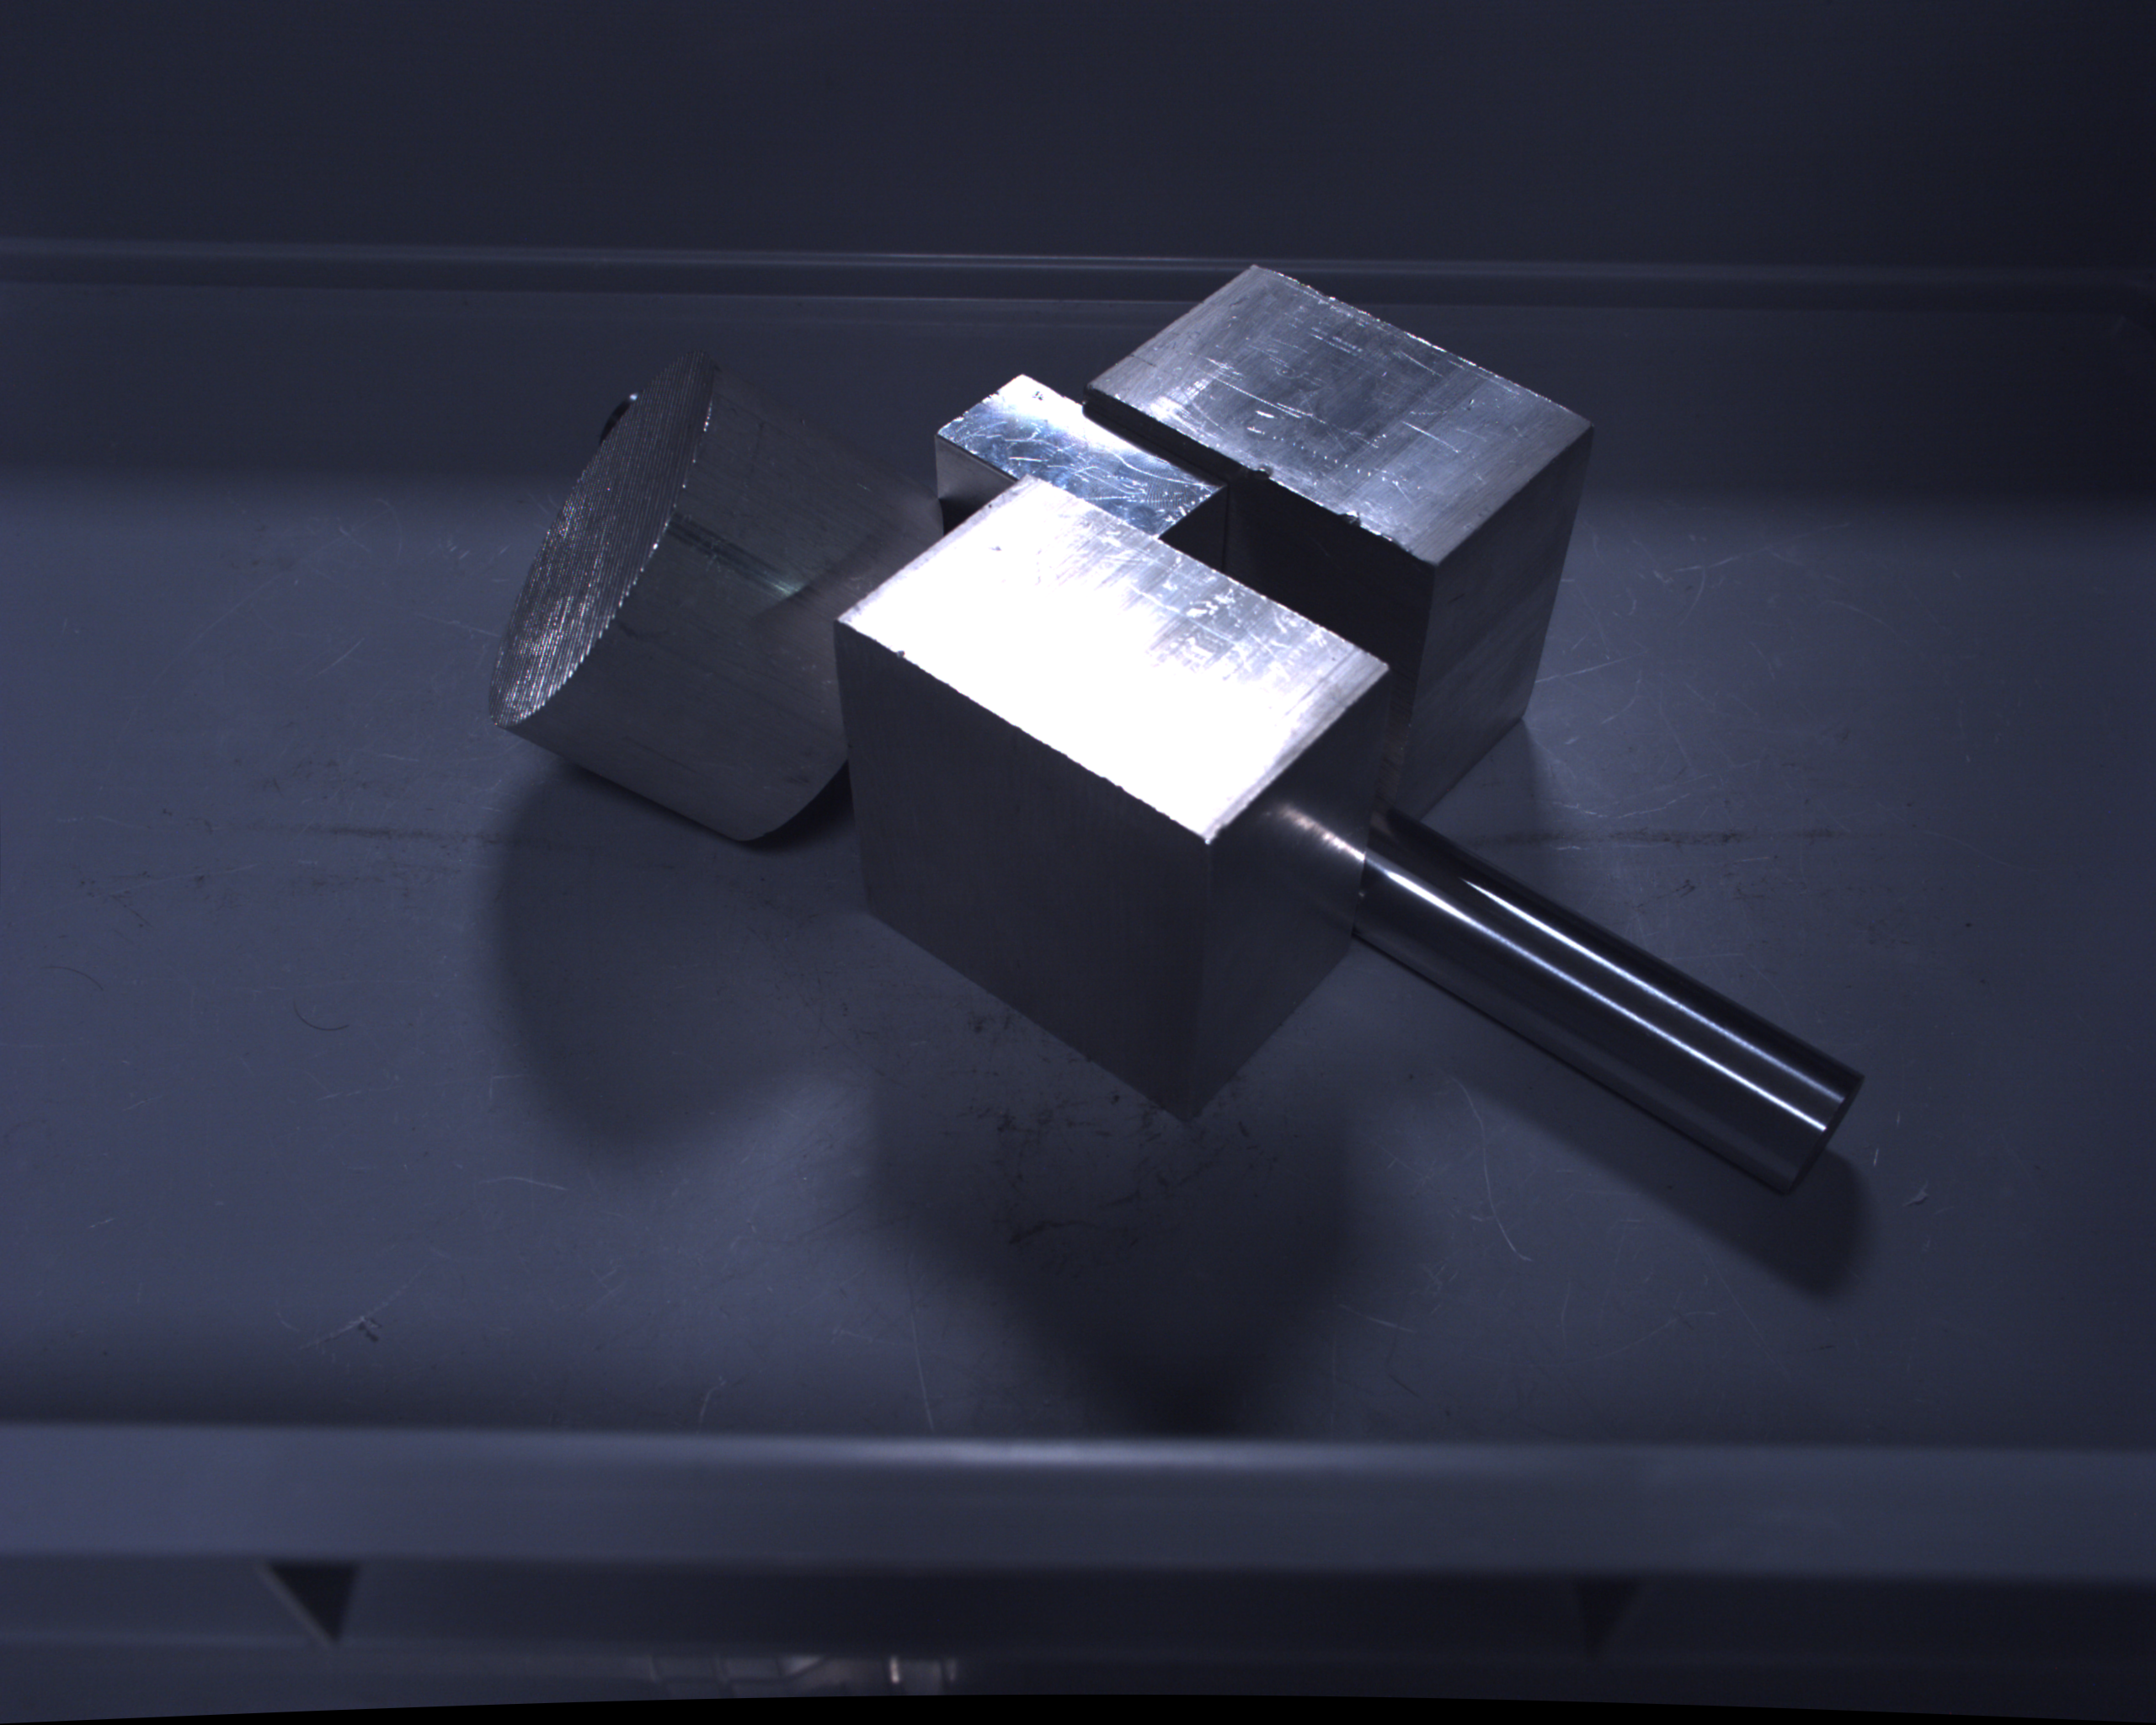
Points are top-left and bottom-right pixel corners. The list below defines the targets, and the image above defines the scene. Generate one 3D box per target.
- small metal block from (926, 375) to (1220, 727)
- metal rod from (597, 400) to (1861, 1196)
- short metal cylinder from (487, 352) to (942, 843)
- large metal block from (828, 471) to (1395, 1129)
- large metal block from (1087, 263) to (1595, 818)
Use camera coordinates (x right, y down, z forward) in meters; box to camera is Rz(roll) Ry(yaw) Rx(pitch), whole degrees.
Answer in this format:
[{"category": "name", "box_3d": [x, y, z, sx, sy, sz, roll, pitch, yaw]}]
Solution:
[{"category": "small metal block", "box_3d": [-0.001, -0.059, 0.407, 0.050, 0.050, 0.025, 33, 58, 24]}, {"category": "metal rod", "box_3d": [0.014, -0.025, 0.425, 0.300, 0.025, 0.025, 32, 57, 23]}, {"category": "short metal cylinder", "box_3d": [-0.071, -0.050, 0.401, 0.050, 0.080, 0.080, 29, 43, -29]}, {"category": "large metal block", "box_3d": [0.005, -0.011, 0.378, 0.080, 0.080, 0.050, 32, 57, 23]}, {"category": "large metal block", "box_3d": [0.049, -0.061, 0.420, 0.080, 0.080, 0.050, 33, 57, 24]}]
